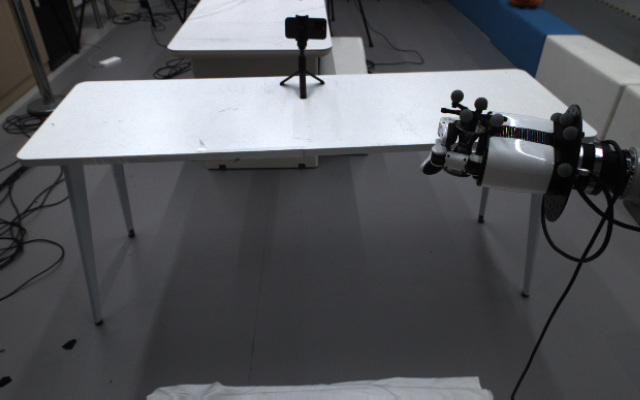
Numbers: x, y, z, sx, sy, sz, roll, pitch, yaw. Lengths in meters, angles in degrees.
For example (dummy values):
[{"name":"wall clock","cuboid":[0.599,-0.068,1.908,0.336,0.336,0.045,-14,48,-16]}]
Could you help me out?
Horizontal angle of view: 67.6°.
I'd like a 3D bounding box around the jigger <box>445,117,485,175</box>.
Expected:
[{"name":"jigger","cuboid":[0.202,-0.072,0.681,0.043,0.071,0.043,7,32,-4]}]
